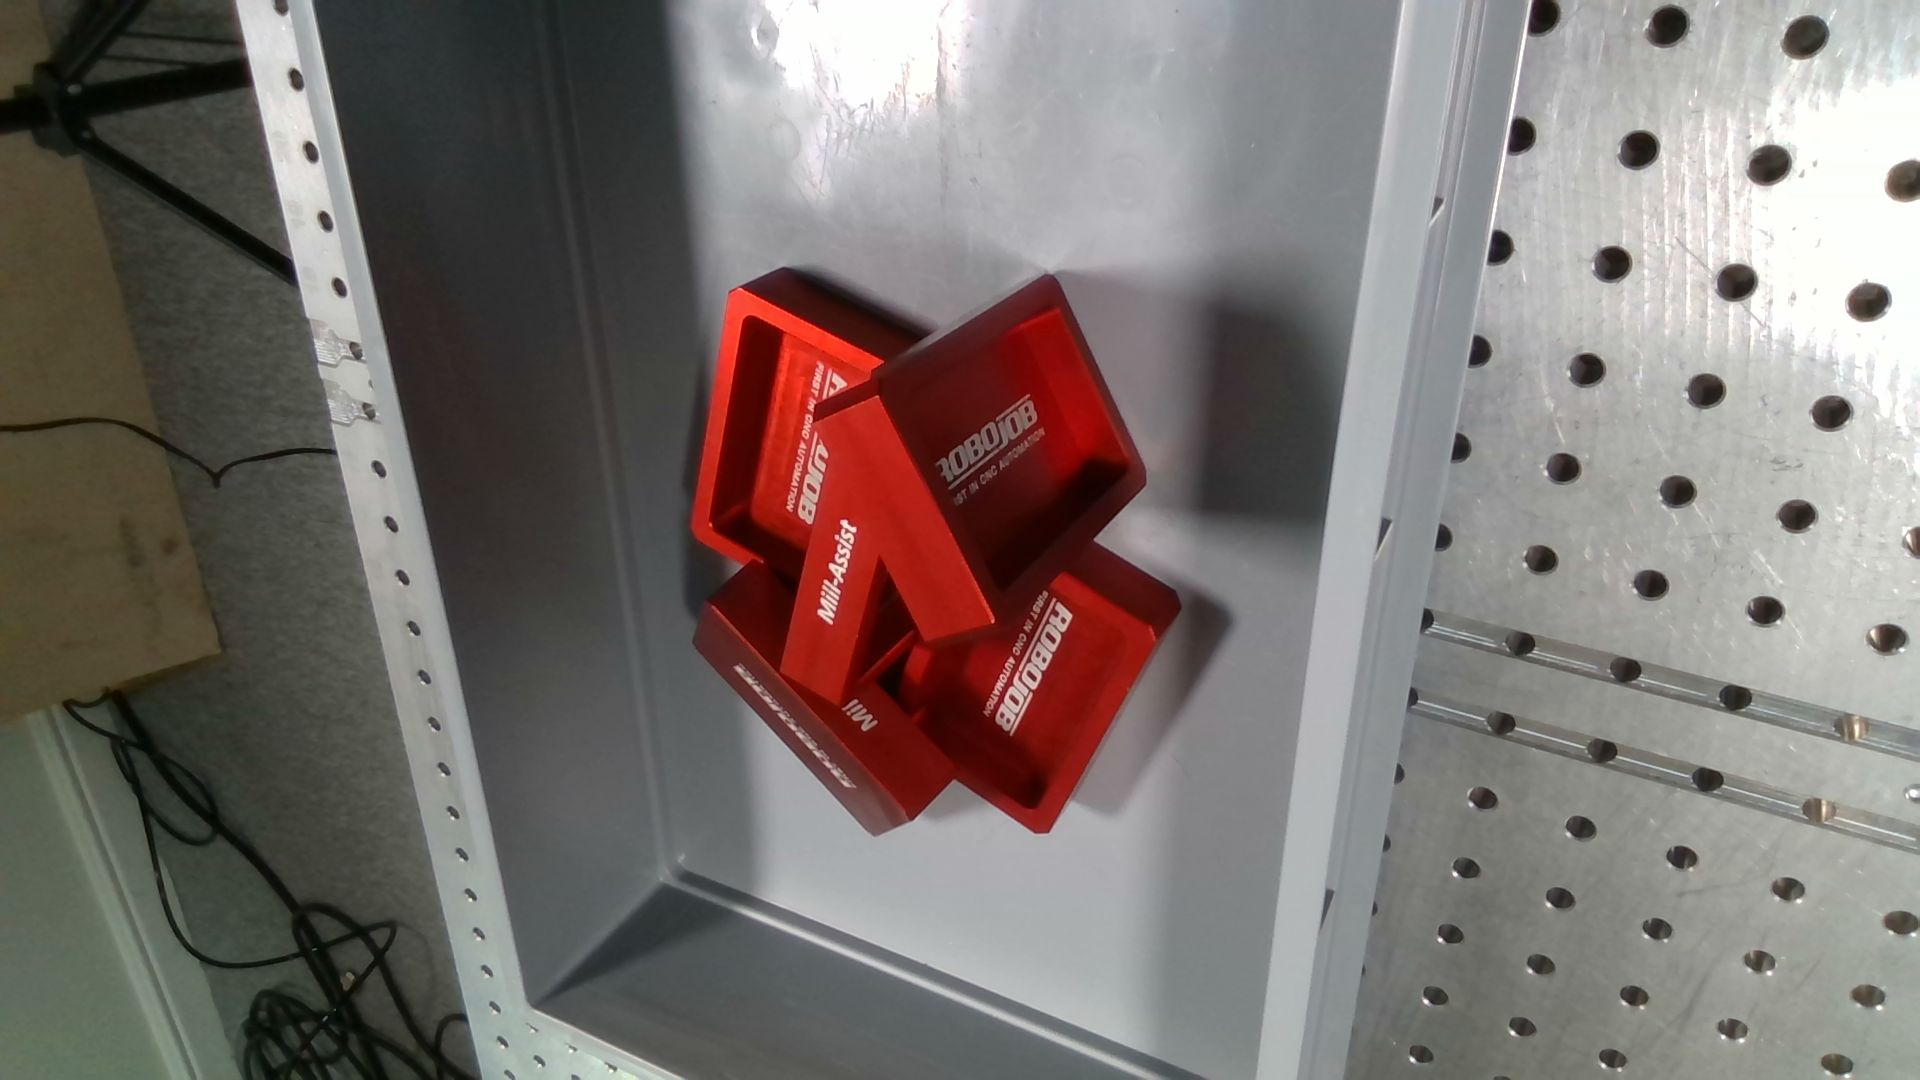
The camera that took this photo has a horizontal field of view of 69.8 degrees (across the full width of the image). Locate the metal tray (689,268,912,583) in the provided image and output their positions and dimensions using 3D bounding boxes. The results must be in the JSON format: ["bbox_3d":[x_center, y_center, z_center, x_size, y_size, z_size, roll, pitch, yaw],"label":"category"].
[{"bbox_3d":[-0.065,-0.039,0.592,0.090,0.030,0.130,28,127,16],"label":"metal tray"}]

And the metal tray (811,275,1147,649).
[{"bbox_3d":[0.012,-0.032,0.484,0.030,0.130,0.090,-18,104,37],"label":"metal tray"}]

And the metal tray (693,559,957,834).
[{"bbox_3d":[-0.066,0.076,0.631,0.130,0.030,0.090,46,158,2],"label":"metal tray"}]

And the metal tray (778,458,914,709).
[{"bbox_3d":[-0.026,-0.006,0.547,0.030,0.090,0.130,28,127,16],"label":"metal tray"}]

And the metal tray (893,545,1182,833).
[{"bbox_3d":[0.027,0.054,0.588,0.090,0.030,0.130,32,128,13],"label":"metal tray"}]
